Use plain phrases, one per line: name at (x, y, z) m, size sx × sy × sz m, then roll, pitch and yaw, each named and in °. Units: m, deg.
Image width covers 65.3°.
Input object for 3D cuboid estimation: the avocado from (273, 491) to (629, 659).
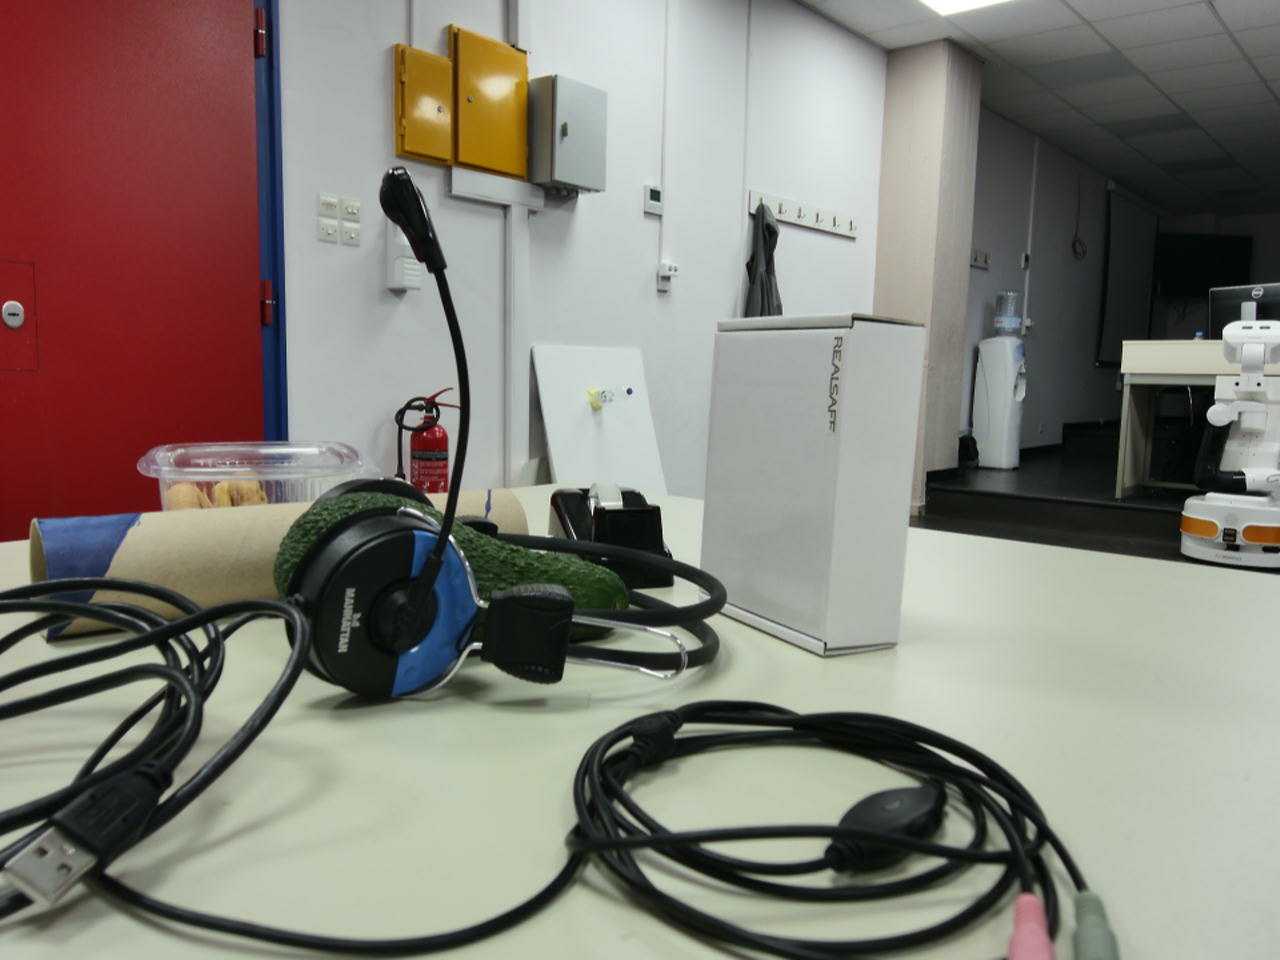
avocado at (-0.074, 0.036, 0.408) m, size 0.141 × 0.067 × 0.063 m, roll -3°, pitch 5°, yaw -35°
